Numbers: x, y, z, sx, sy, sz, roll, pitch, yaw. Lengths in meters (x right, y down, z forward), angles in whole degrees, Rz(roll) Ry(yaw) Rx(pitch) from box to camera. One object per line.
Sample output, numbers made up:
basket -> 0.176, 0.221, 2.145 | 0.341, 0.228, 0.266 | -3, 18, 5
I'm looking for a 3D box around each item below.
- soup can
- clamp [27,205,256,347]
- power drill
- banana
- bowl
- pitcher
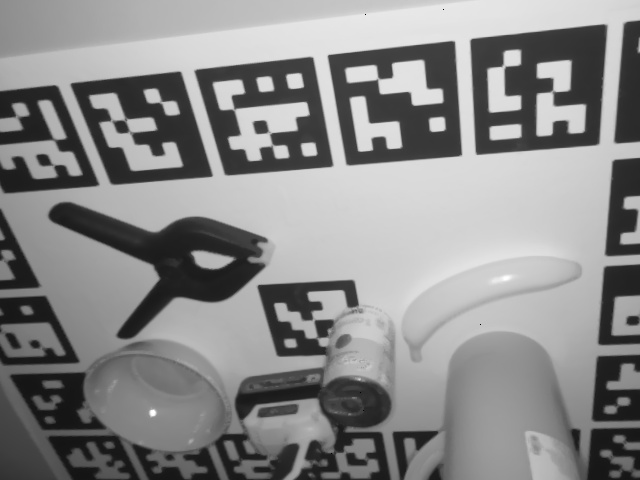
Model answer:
soup can -> 0.029, 0.110, 0.671 | 0.068, 0.103, 0.067 | 2, 131, 3
clamp -> -0.159, 0.023, 0.668 | 0.201, 0.037, 0.165 | -11, 116, 14
power drill -> -0.067, 0.242, 0.691 | 0.183, 0.189, 0.057 | -13, 120, 16
banana -> 0.140, 0.033, 0.648 | 0.195, 0.039, 0.074 | -32, 122, 26
bowl -> -0.176, 0.164, 0.756 | 0.161, 0.056, 0.160 | 3, 121, 5
pitcher -> 0.152, 0.182, 0.616 | 0.186, 0.245, 0.134 | -31, 116, 24
